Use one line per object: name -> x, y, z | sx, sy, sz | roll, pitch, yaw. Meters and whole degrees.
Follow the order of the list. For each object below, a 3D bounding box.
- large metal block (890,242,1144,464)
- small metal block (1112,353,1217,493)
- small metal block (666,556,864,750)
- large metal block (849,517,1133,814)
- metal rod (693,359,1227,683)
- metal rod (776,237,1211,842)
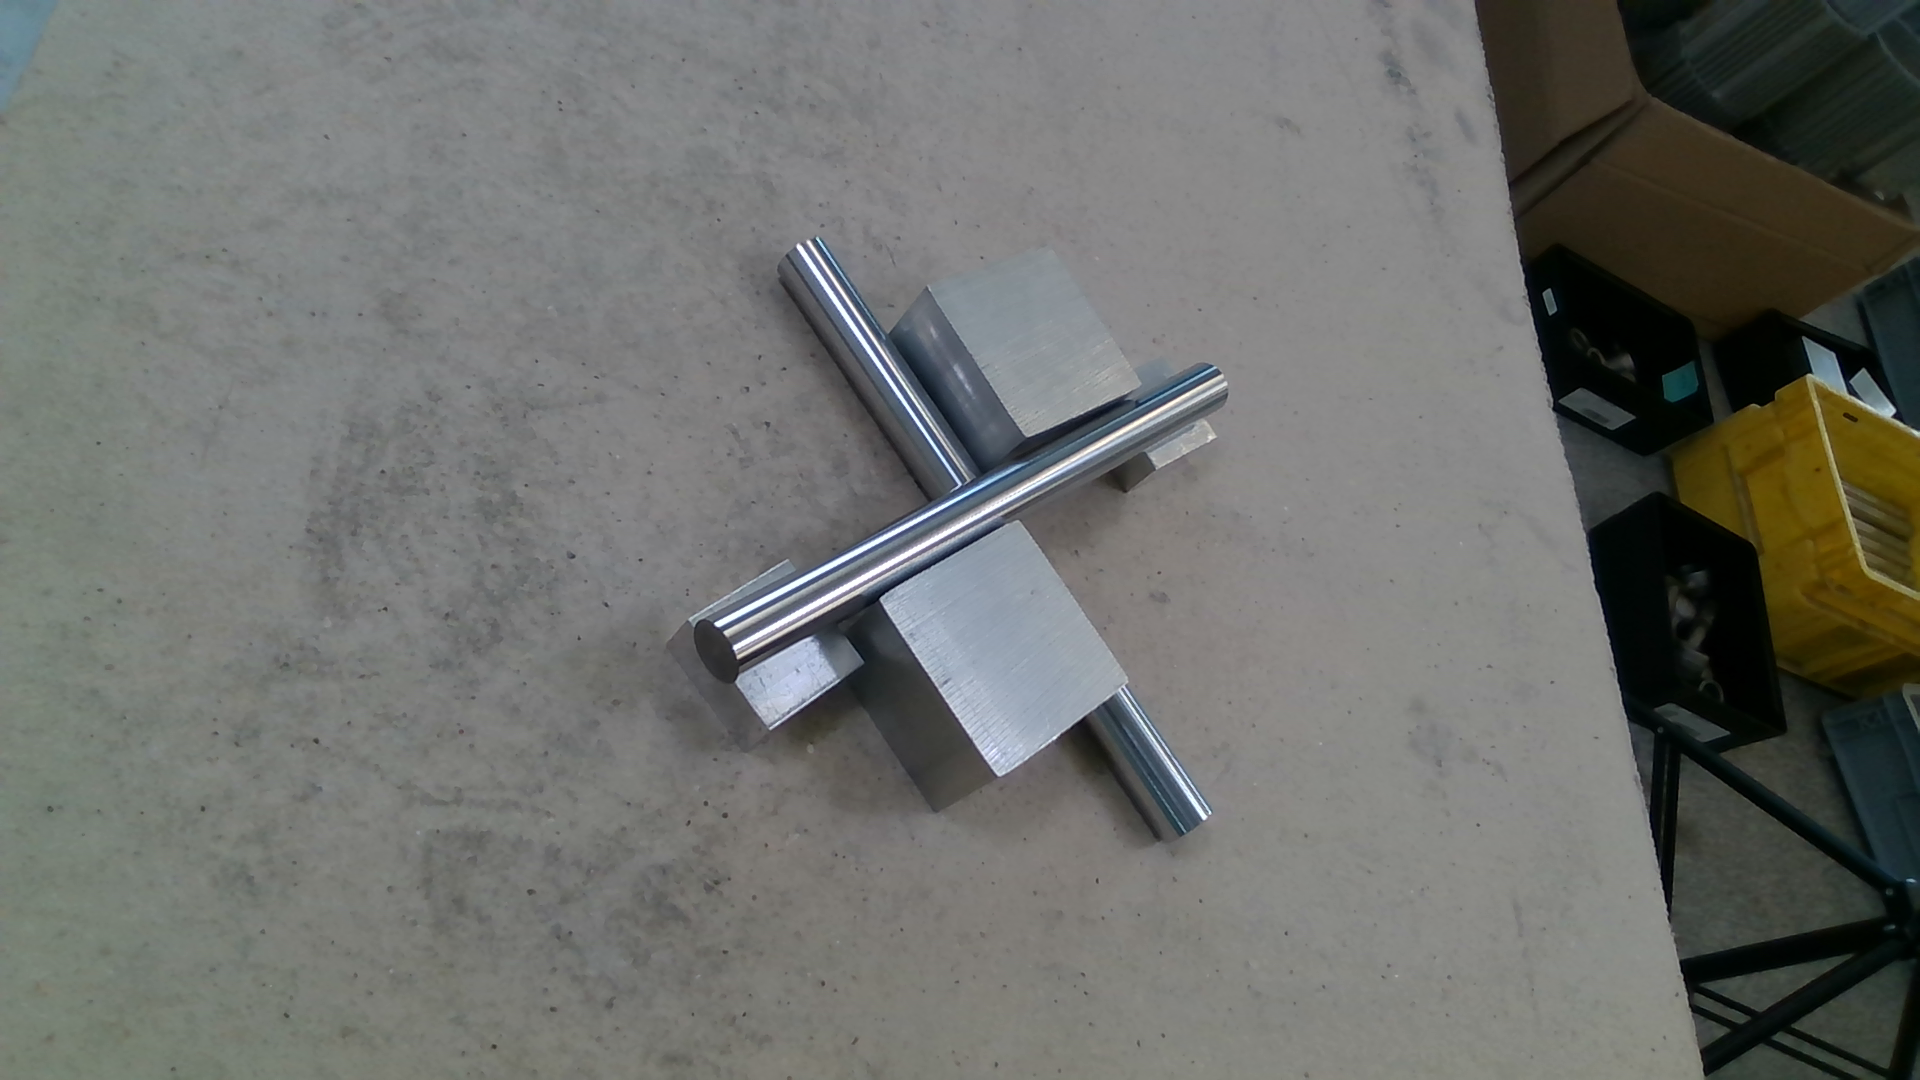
large metal block -> 0.022, -0.080, 0.625 | 0.080, 0.050, 0.080 | -27, 81, -38
small metal block -> 0.090, -0.058, 0.674 | 0.050, 0.025, 0.050 | -27, 81, -38
small metal block -> -0.073, 0.042, 0.519 | 0.050, 0.025, 0.050 | -35, 86, -39
large metal block -> 0.008, 0.049, 0.549 | 0.080, 0.050, 0.080 | -29, 83, -39
metal rod -> 0.017, -0.019, 0.574 | 0.300, 0.025, 0.025 | -29, 82, -39
metal rod -> 0.012, -0.003, 0.597 | 0.025, 0.025, 0.300 | -30, 83, -39
